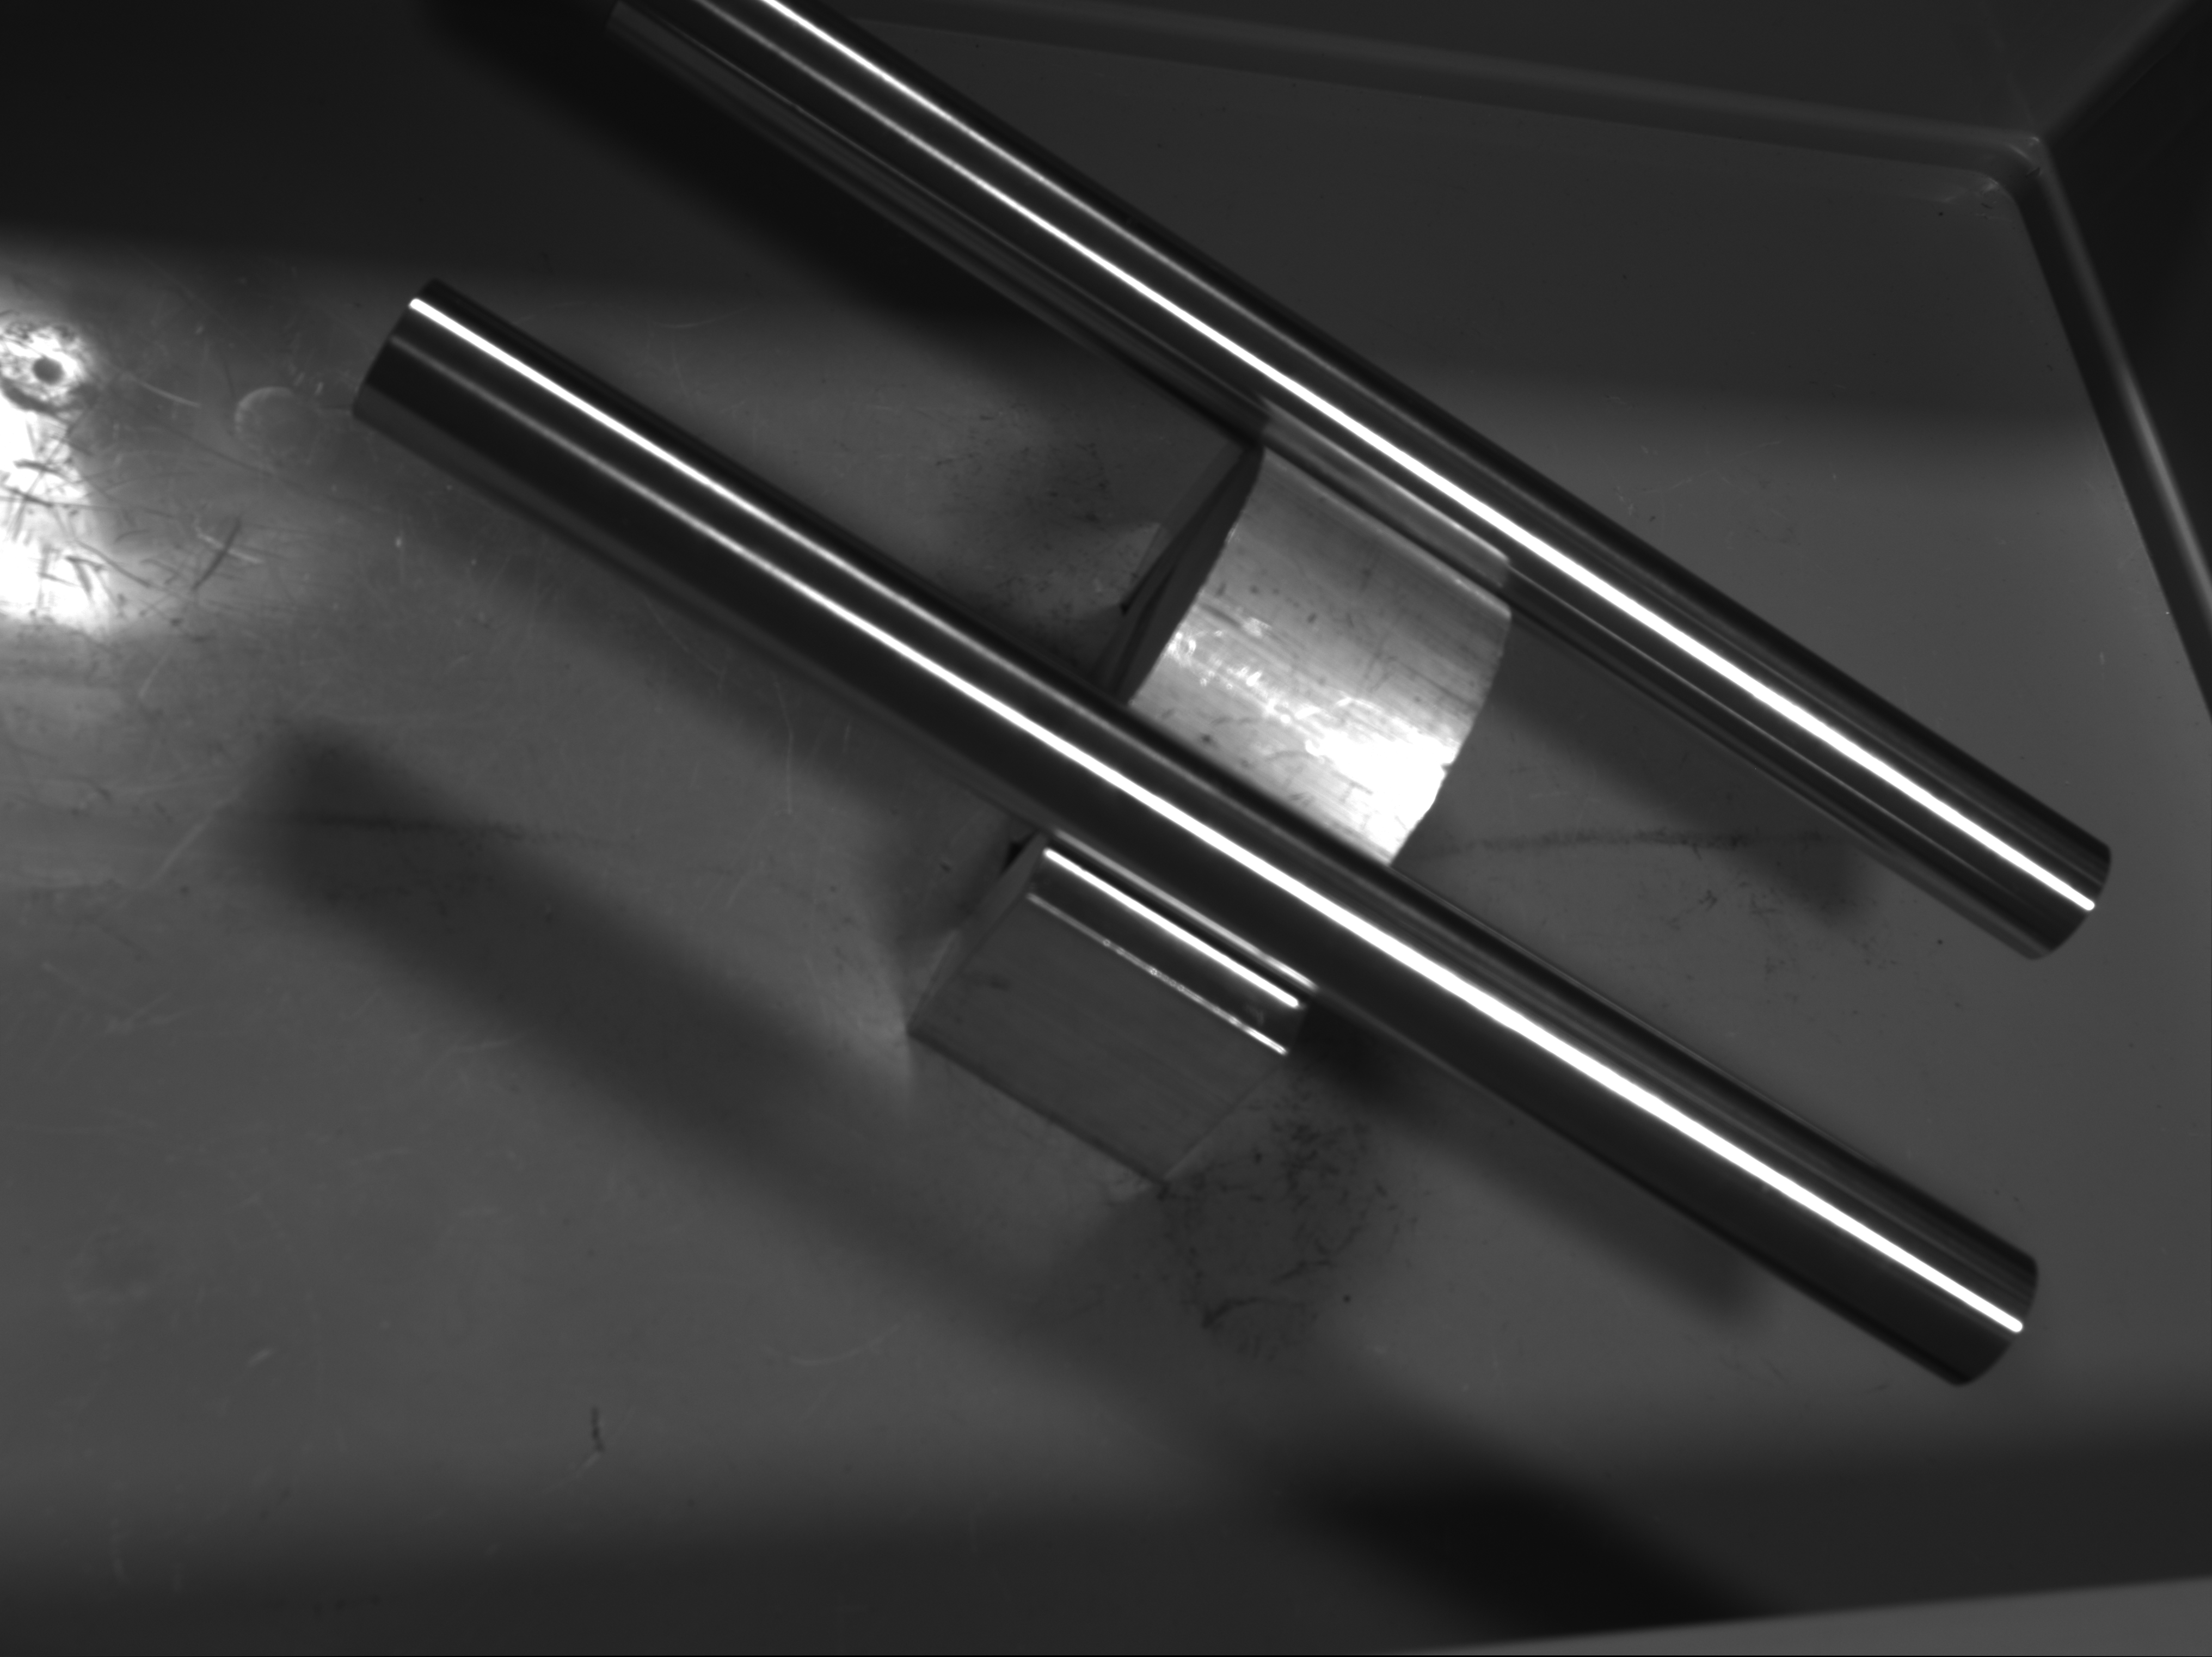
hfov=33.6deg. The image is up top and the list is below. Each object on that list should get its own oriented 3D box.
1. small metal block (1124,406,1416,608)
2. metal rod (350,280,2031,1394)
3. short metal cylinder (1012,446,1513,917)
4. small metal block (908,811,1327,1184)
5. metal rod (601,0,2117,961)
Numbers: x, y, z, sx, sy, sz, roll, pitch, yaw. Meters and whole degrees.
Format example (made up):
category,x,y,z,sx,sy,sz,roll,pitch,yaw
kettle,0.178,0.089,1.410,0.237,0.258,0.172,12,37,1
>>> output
category,x,y,z,sx,sy,sz,roll,pitch,yaw
small metal block,0.039,-0.049,0.673,0.050,0.050,0.025,32,51,-7
metal rod,0.017,0.004,0.582,0.300,0.025,0.025,31,52,-7
short metal cylinder,0.026,-0.019,0.629,0.050,0.080,0.080,32,51,-7
small metal block,0.002,0.026,0.607,0.050,0.050,0.025,32,51,-7
metal rod,0.048,-0.065,0.640,0.300,0.025,0.025,32,51,-8
